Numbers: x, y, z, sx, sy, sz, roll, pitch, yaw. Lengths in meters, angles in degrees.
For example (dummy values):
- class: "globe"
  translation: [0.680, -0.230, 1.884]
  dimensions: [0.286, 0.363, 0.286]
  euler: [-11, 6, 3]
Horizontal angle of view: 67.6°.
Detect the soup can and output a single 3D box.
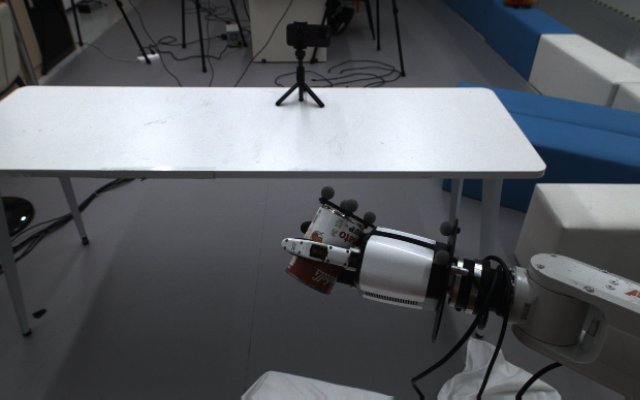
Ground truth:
- class: "soup can"
  translation: [0.009, 0.065, 0.642]
  dimensions: [0.067, 0.101, 0.067]
  euler: [28, -3, 2]
